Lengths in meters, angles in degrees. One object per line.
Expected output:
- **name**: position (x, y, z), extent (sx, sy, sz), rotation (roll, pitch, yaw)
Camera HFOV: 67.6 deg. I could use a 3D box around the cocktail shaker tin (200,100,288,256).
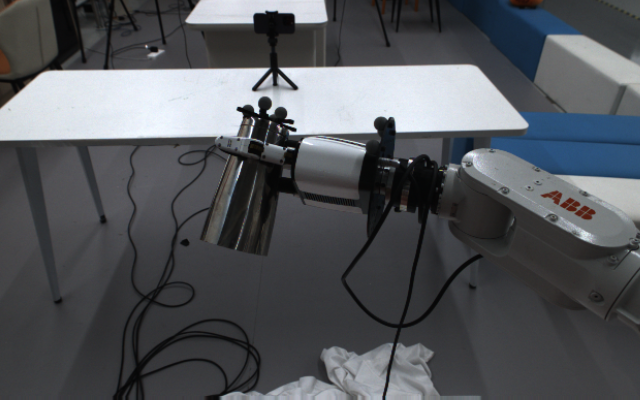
- **cocktail shaker tin**: position (-0.093, -0.022, 0.649), extent (0.093, 0.170, 0.093), rotation (15, -5, 1)
